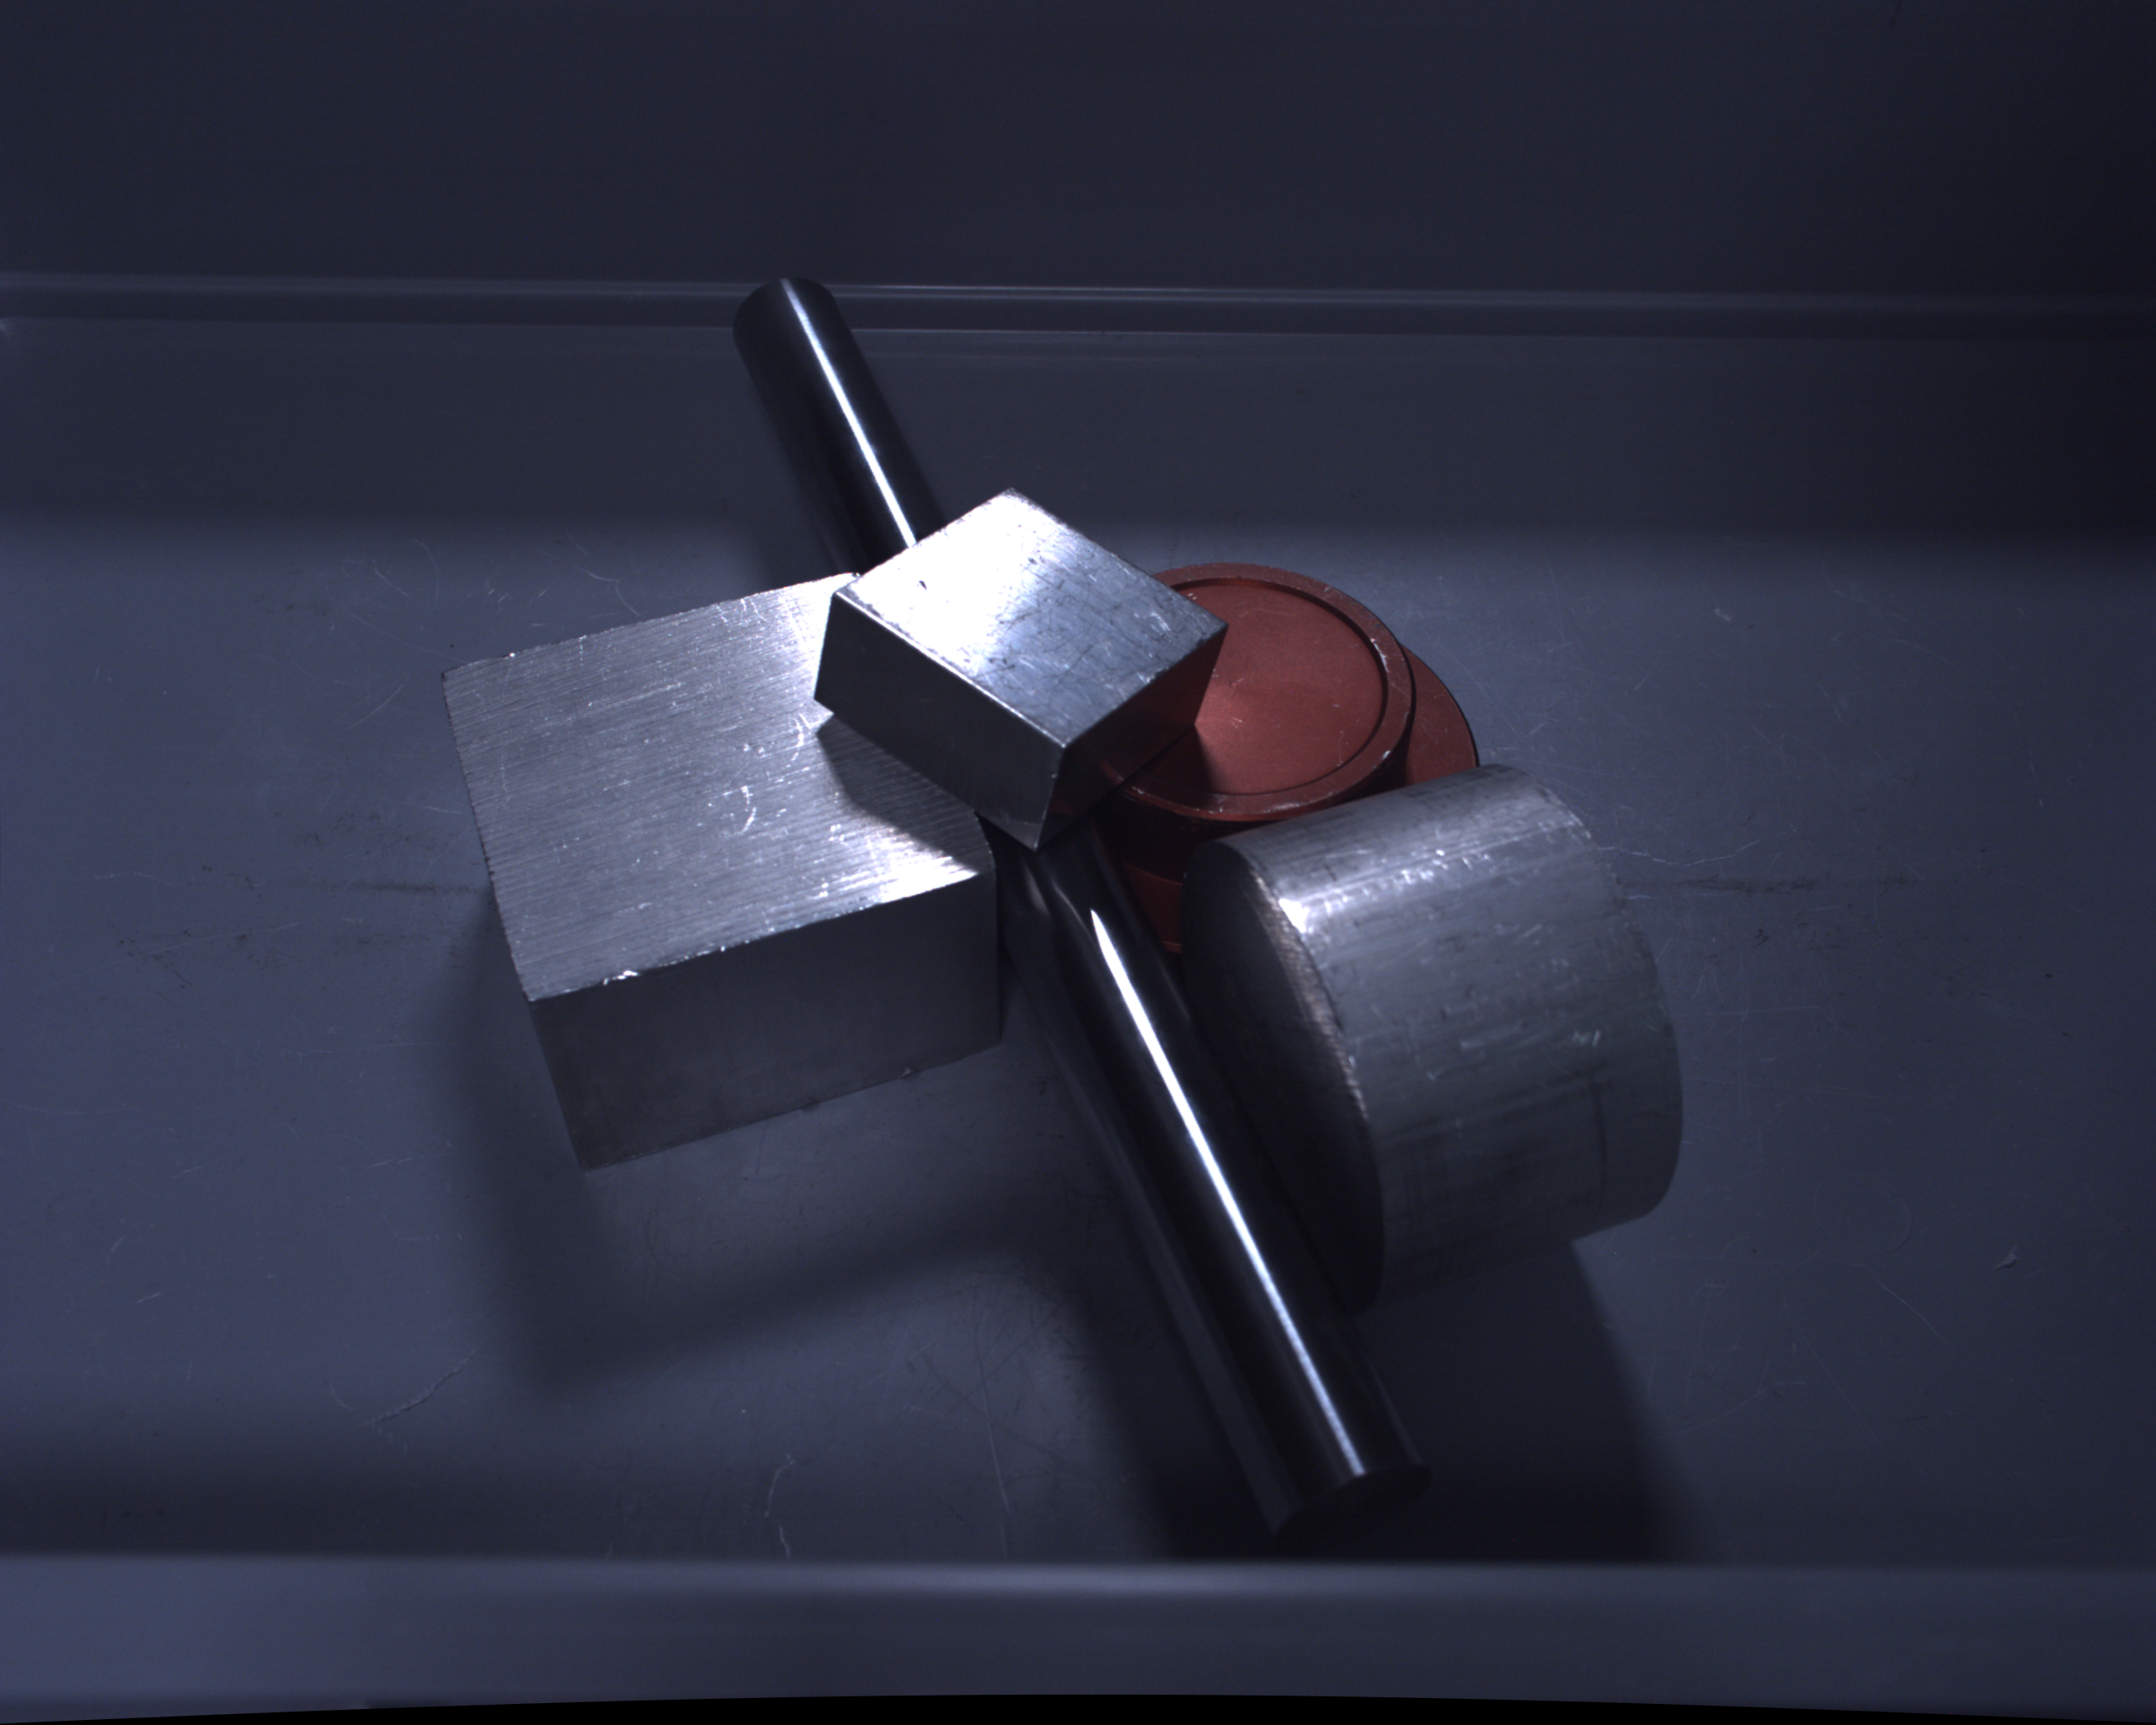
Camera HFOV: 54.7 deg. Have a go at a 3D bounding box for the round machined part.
[{"bbox_3d":[0.030,-0.021,0.410,0.099,0.042,0.098,0,50,0],"label":"round machined part"}]

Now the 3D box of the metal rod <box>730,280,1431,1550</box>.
[{"bbox_3d":[-0.014,-0.015,0.389,0.025,0.025,0.300,-16,52,-13],"label":"metal rod"}]

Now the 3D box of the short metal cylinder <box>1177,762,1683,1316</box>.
[{"bbox_3d":[0.055,0.028,0.344,0.050,0.080,0.080,-16,52,-13],"label":"short metal cylinder"}]

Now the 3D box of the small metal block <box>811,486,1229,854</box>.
[{"bbox_3d":[-0.010,-0.035,0.370,0.050,0.025,0.050,35,46,17],"label":"small metal block"}]

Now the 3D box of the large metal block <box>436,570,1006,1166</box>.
[{"bbox_3d":[-0.065,-0.001,0.384,0.081,0.050,0.080,-16,52,-13],"label":"large metal block"}]
